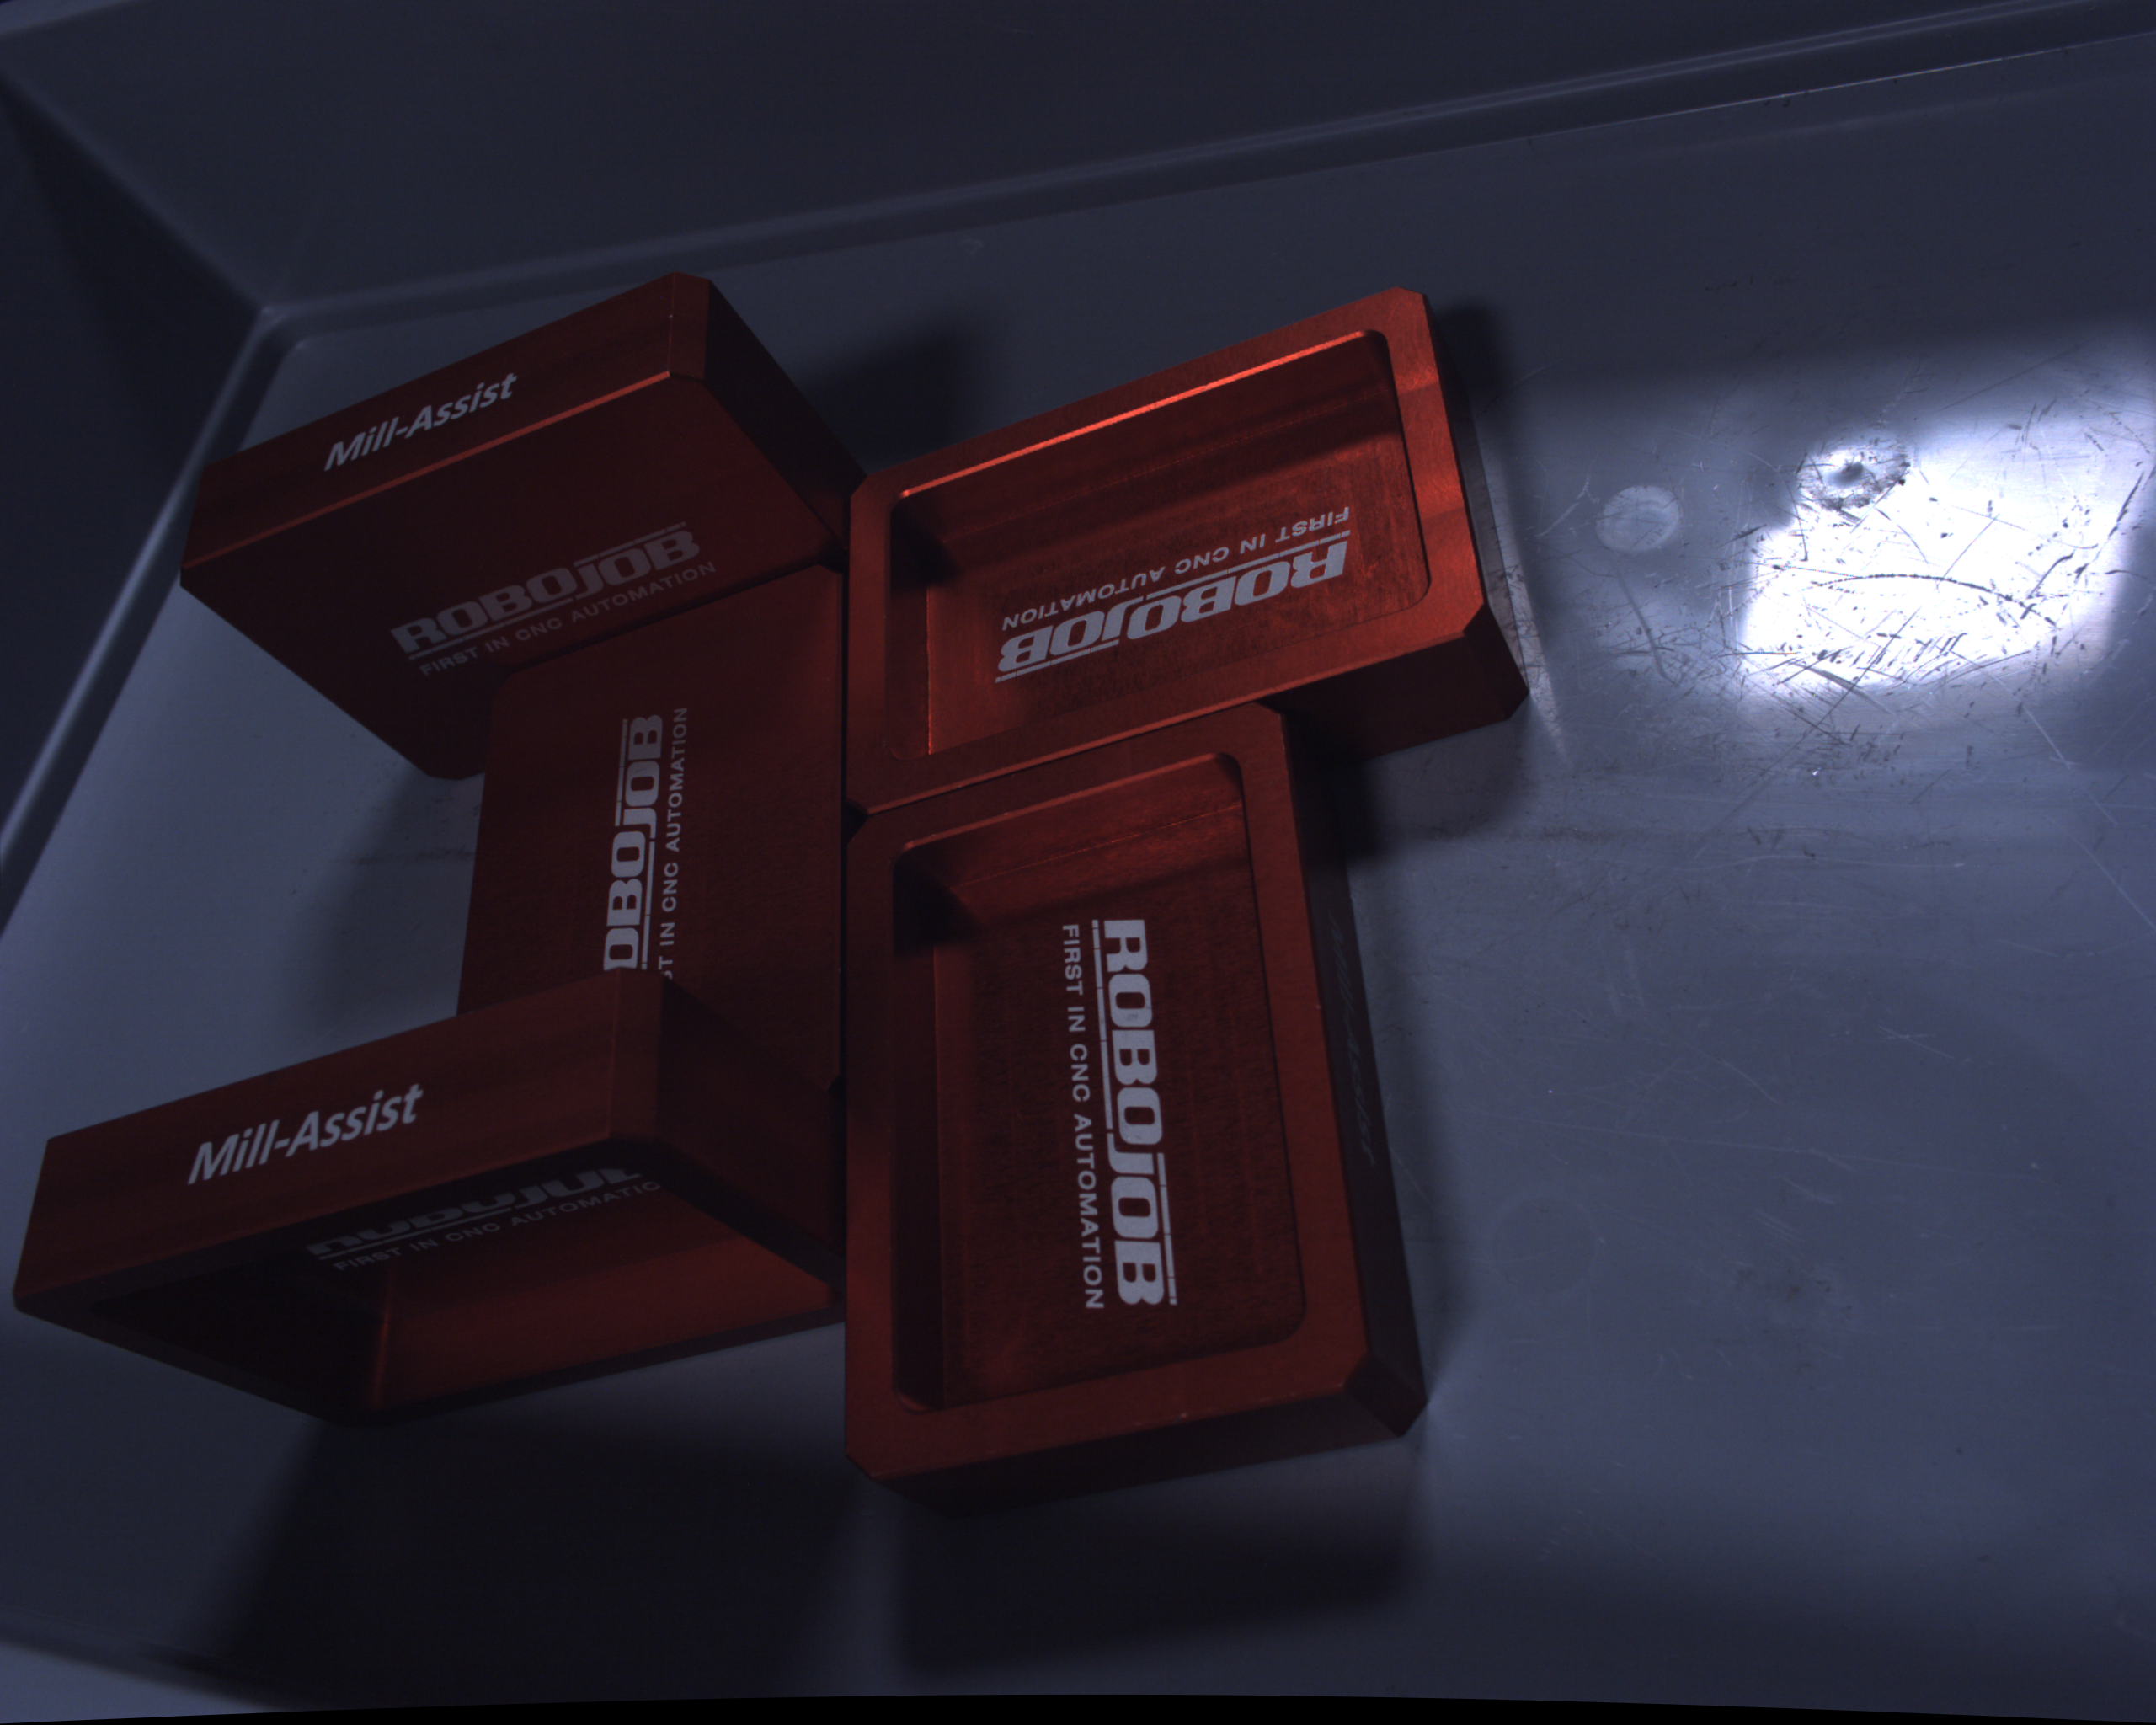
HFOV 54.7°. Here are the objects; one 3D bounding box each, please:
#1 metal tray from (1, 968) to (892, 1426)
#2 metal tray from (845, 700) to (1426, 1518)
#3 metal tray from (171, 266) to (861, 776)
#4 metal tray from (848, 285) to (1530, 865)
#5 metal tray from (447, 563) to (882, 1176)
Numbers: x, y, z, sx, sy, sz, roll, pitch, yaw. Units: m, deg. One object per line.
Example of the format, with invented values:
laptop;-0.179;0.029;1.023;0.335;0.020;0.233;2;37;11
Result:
metal tray;-0.109;0.065;0.376;0.130;0.090;0.030;-16;56;19
metal tray;0.006;0.042;0.371;0.090;0.030;0.130;-16;55;18
metal tray;-0.118;-0.070;0.462;0.130;0.090;0.030;-17;55;18
metal tray;0.018;-0.056;0.424;0.130;0.030;0.090;-16;55;18
metal tray;-0.083;0.007;0.436;0.090;0.030;0.130;-16;55;18
